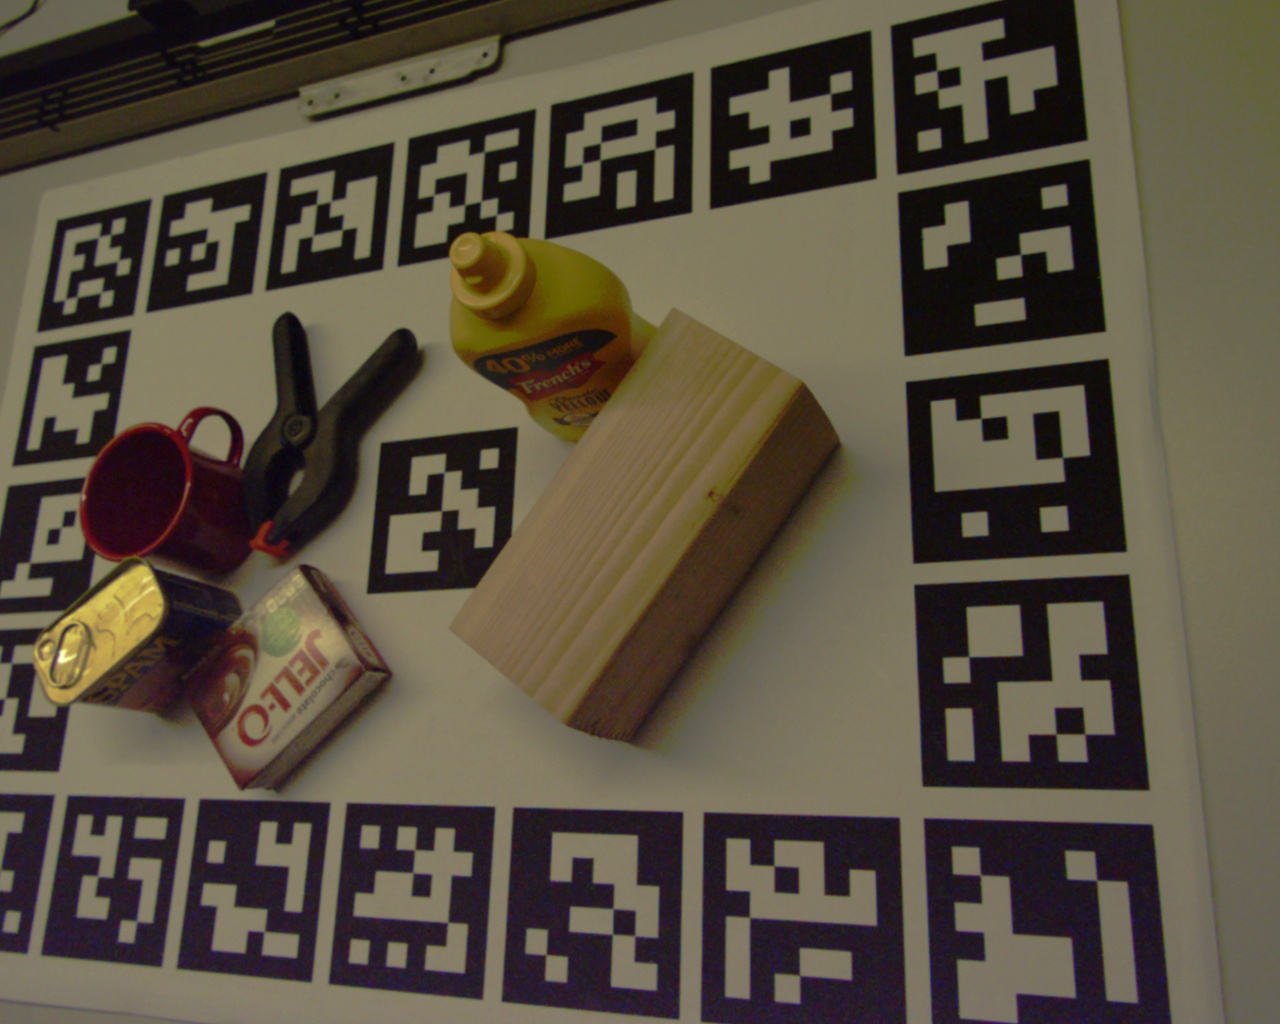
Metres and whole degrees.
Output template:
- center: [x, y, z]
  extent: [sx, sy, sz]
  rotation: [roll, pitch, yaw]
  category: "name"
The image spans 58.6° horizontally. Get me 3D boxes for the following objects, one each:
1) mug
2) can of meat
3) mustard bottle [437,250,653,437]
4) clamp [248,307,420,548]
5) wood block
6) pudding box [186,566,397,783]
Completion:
- center: [-0.306, -0.011, 0.807]
  extent: [0.094, 0.080, 0.117]
  rotation: [18, 85, 25]
  category: "mug"
- center: [-0.327, 0.087, 0.758]
  extent: [0.102, 0.083, 0.058]
  rotation: [-35, 67, 10]
  category: "can of meat"
- center: [-0.057, -0.097, 0.639]
  extent: [0.097, 0.189, 0.058]
  rotation: [-11, 73, 20]
  category: "mustard bottle"
- center: [-0.227, -0.056, 0.792]
  extent: [0.123, 0.036, 0.165]
  rotation: [15, 84, 24]
  category: "clamp"
- center: [0.001, 0.013, 0.646]
  extent: [0.091, 0.090, 0.206]
  rotation: [35, 89, 28]
  category: "wood block"
- center: [-0.226, 0.106, 0.741]
  extent: [0.114, 0.038, 0.091]
  rotation: [-43, 65, 5]
  category: "pudding box"
